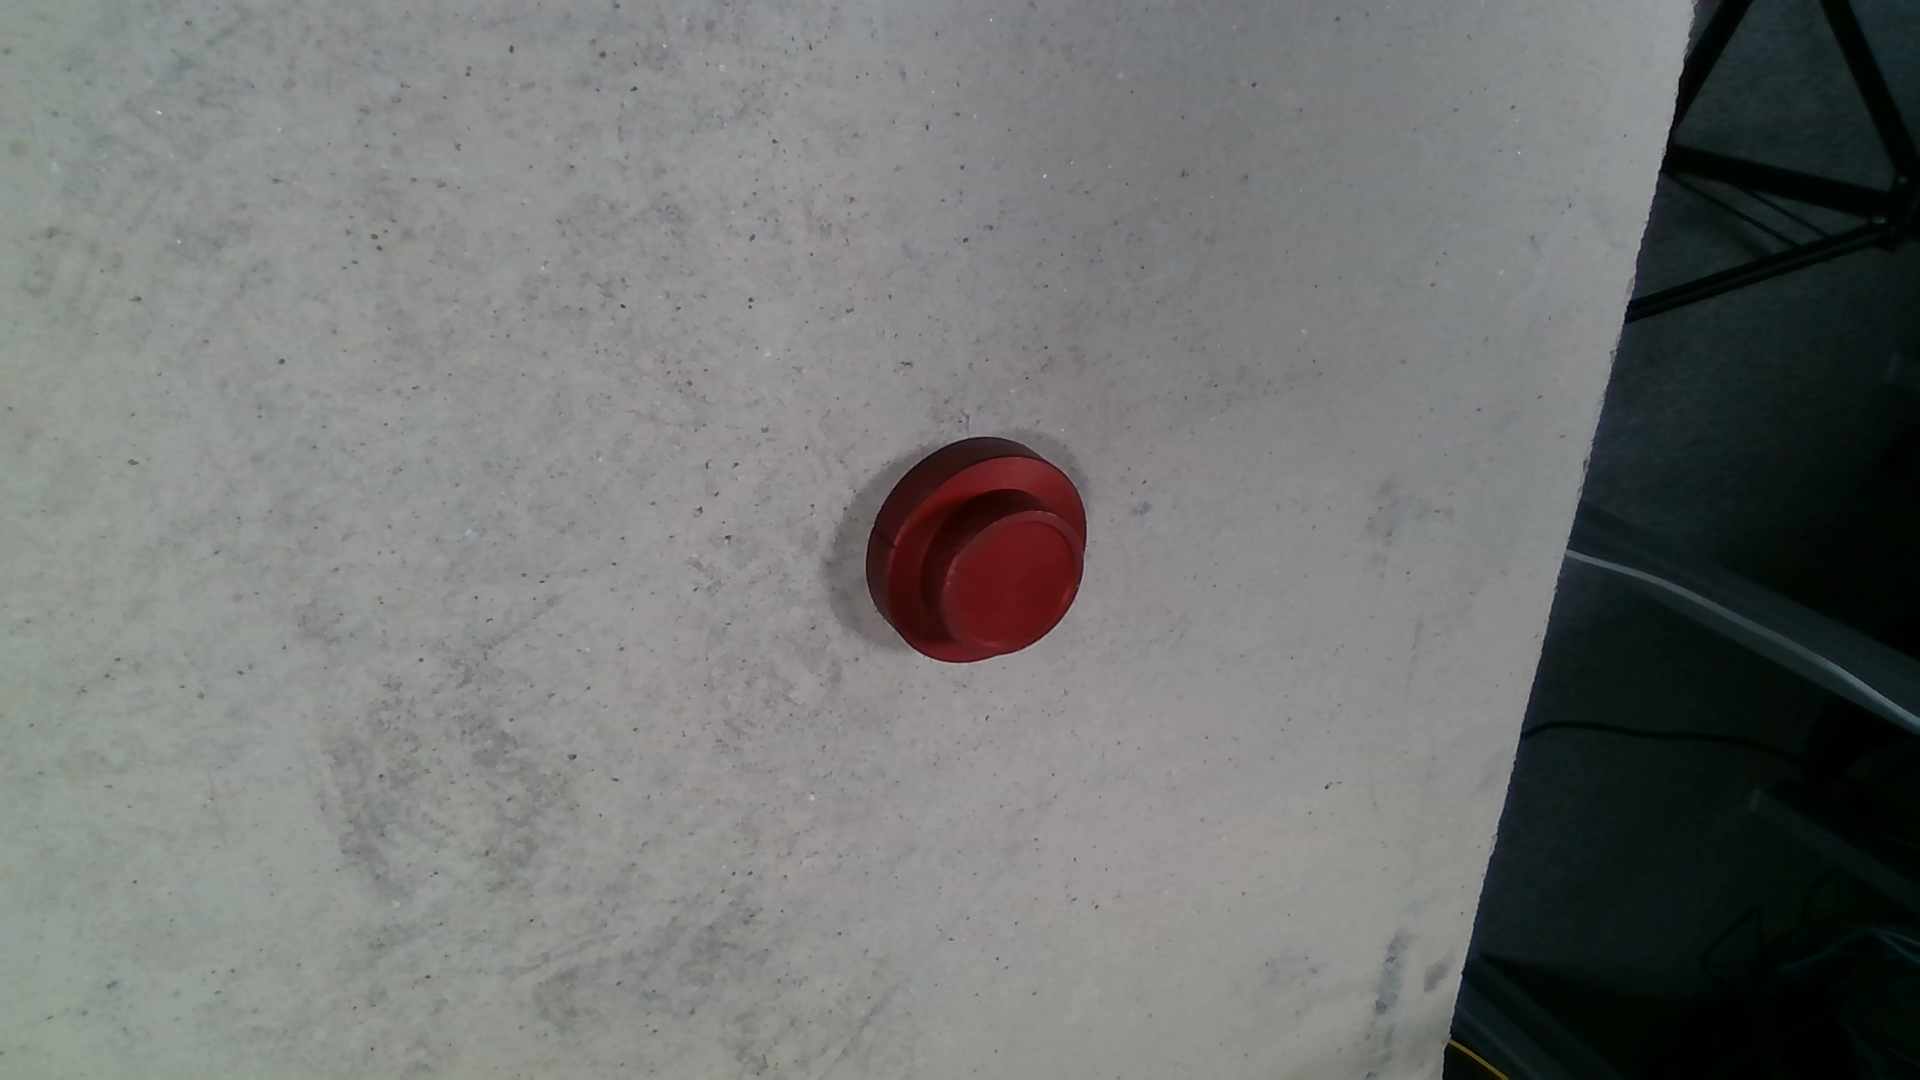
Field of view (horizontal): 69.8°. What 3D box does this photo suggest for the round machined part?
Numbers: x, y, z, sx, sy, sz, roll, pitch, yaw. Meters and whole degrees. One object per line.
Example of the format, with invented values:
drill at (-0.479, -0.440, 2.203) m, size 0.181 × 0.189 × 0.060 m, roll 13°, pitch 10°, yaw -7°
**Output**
round machined part at (0.013, 0.009, 0.582) m, size 0.098 × 0.042 × 0.098 m, roll -14°, pitch 122°, yaw -25°
